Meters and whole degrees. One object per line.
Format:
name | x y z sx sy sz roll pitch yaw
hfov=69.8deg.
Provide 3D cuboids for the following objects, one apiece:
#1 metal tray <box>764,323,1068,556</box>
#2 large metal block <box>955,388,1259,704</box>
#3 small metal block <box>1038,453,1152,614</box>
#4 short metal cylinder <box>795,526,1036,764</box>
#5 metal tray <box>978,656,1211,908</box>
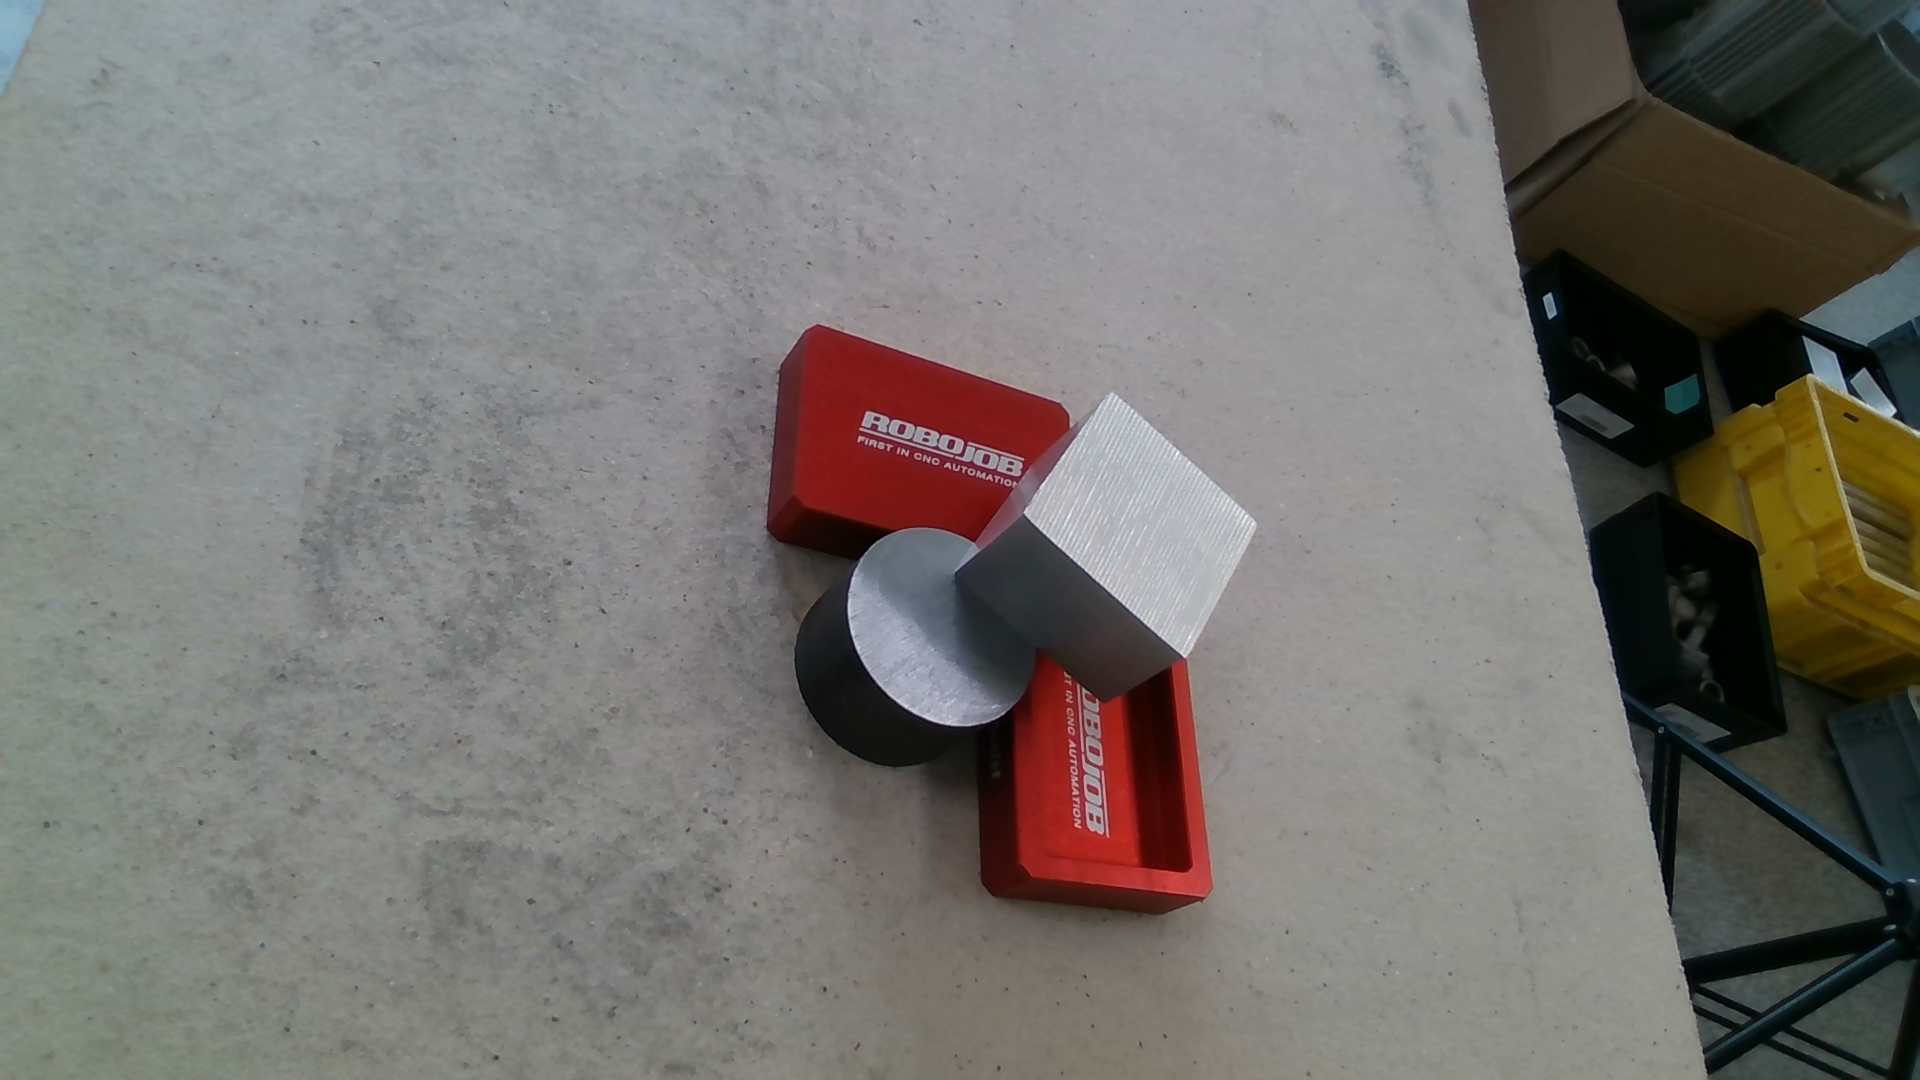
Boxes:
metal tray | -0.015 -0.032 0.592 0.130 0.030 0.090 15 58 -24
large metal block | 0.059 0.002 0.539 0.080 0.050 0.080 42 51 -6
small metal block | 0.059 -0.002 0.608 0.025 0.050 0.050 15 58 -24
short metal cylinder | -0.018 0.041 0.537 0.080 0.050 0.080 15 58 -25
metal tray | 0.053 0.082 0.572 0.090 0.030 0.130 13 59 -26
